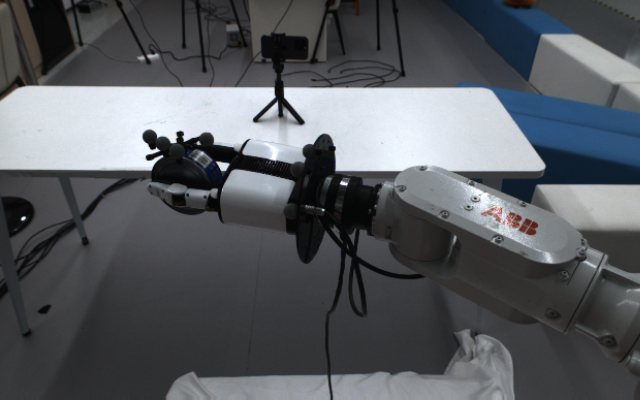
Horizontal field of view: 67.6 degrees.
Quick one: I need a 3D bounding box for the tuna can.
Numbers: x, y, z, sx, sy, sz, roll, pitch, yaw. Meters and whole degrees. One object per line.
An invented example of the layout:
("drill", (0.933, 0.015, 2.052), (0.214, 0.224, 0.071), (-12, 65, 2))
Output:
("tuna can", (-0.167, -0.025, 0.620), (0.085, 0.085, 0.034), (11, 33, 13))
